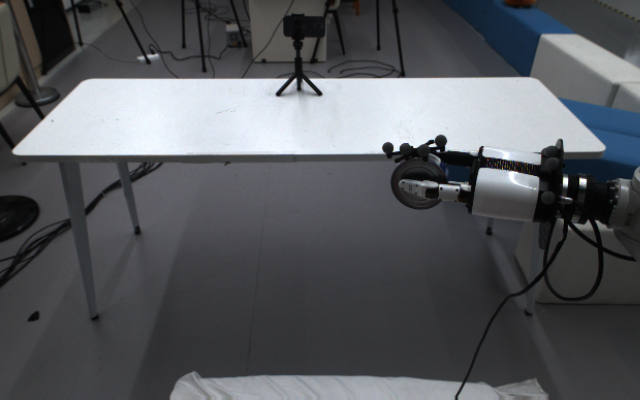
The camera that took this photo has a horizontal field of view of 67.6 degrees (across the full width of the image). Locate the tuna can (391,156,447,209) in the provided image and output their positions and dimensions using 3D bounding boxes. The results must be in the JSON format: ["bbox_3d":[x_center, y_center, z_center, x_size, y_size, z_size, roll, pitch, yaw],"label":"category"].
[{"bbox_3d":[0.155,-0.031,0.745,0.085,0.085,0.034,13,29,15],"label":"tuna can"}]
